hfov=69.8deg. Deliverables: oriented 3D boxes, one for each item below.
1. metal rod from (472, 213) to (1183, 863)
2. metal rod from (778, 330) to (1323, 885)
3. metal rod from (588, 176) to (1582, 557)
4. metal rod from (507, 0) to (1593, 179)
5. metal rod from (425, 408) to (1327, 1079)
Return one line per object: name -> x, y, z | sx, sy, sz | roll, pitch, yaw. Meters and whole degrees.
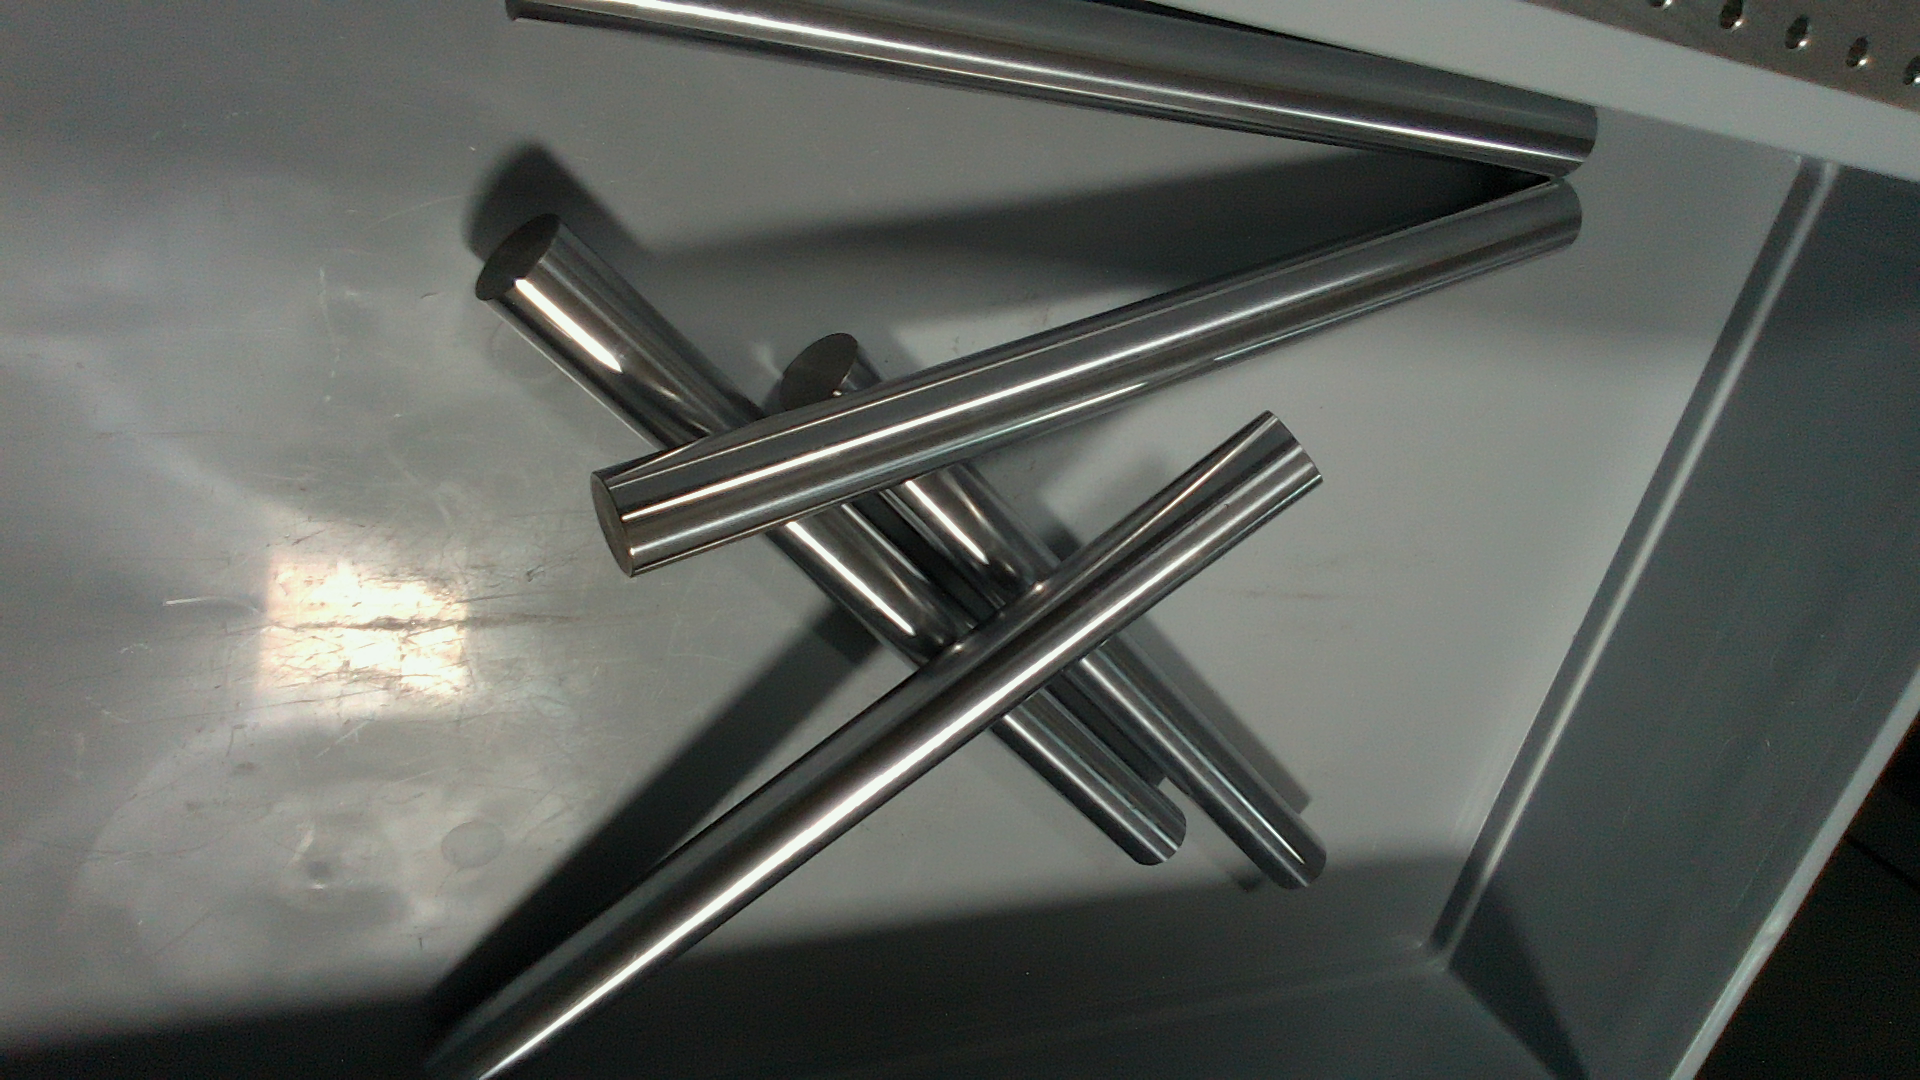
metal rod -> -0.014, 0.021, 0.394 | 0.025, 0.025, 0.301 | -44, 129, 2
metal rod -> 0.046, 0.040, 0.438 | 0.025, 0.025, 0.301 | -44, 129, 2
metal rod -> 0.052, -0.056, 0.362 | 0.301, 0.025, 0.025 | -20, 127, -24
metal rod -> 0.045, -0.118, 0.341 | 0.301, 0.025, 0.025 | -1, 119, -28
metal rod -> -0.028, 0.064, 0.386 | 0.300, 0.025, 0.025 | -37, 130, 7
